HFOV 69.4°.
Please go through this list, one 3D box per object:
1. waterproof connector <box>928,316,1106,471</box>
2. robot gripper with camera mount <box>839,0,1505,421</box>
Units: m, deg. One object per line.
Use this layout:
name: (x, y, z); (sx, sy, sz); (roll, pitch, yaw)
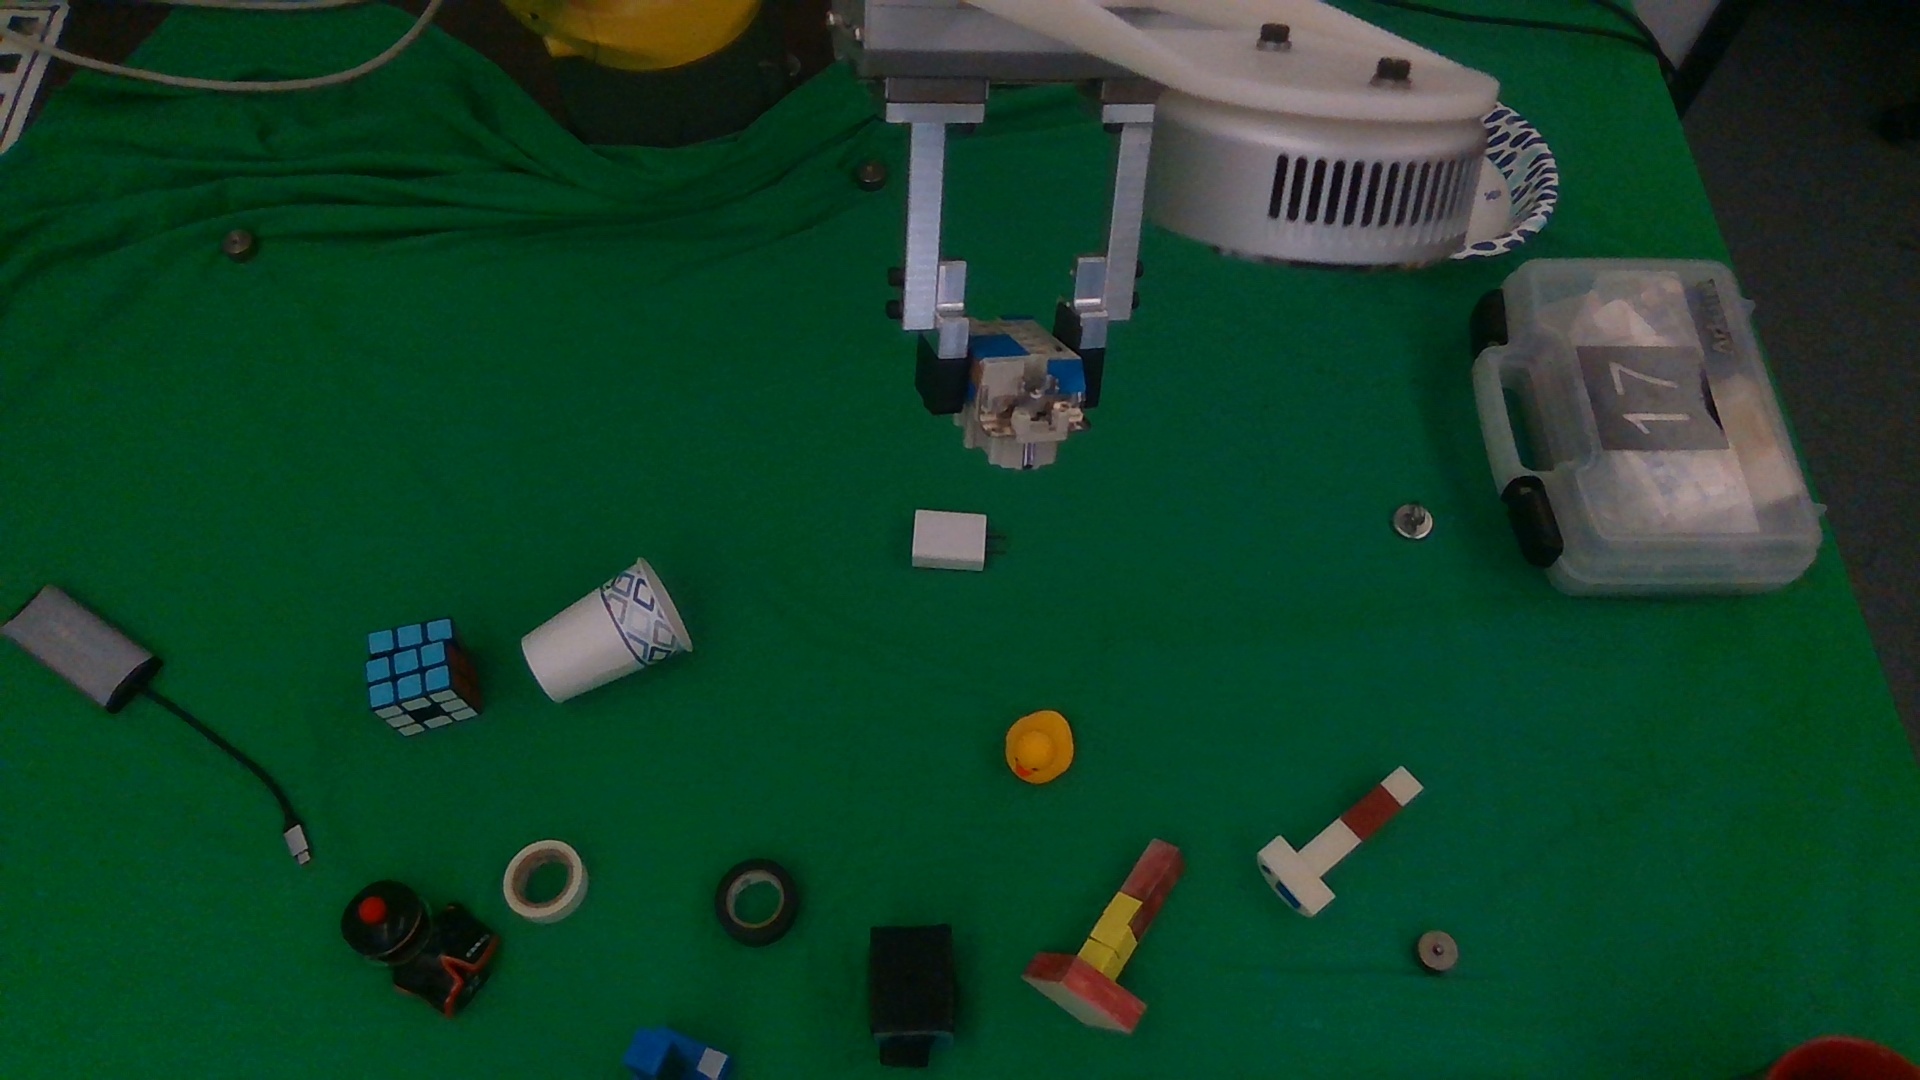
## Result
waterproof connector: (0.016, -0.046, 0.432); (0.035, 0.037, 0.065); (-6, 26, -22)
robot gripper with camera mount: (0.052, -0.082, 0.332); (0.119, 0.158, 0.194); (-6, 26, -19)
